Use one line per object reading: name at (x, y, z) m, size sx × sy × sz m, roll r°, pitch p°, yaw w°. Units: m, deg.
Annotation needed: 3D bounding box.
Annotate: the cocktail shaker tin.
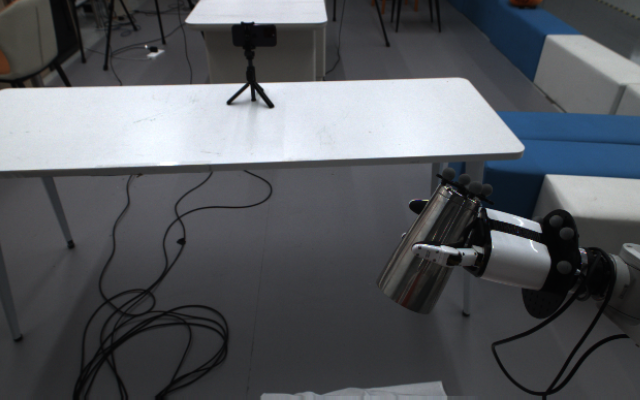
cocktail shaker tin at (0.162, 0.063, 0.692) m, size 0.093 × 0.170 × 0.093 m, roll 24°, pitch 12°, yaw -6°
